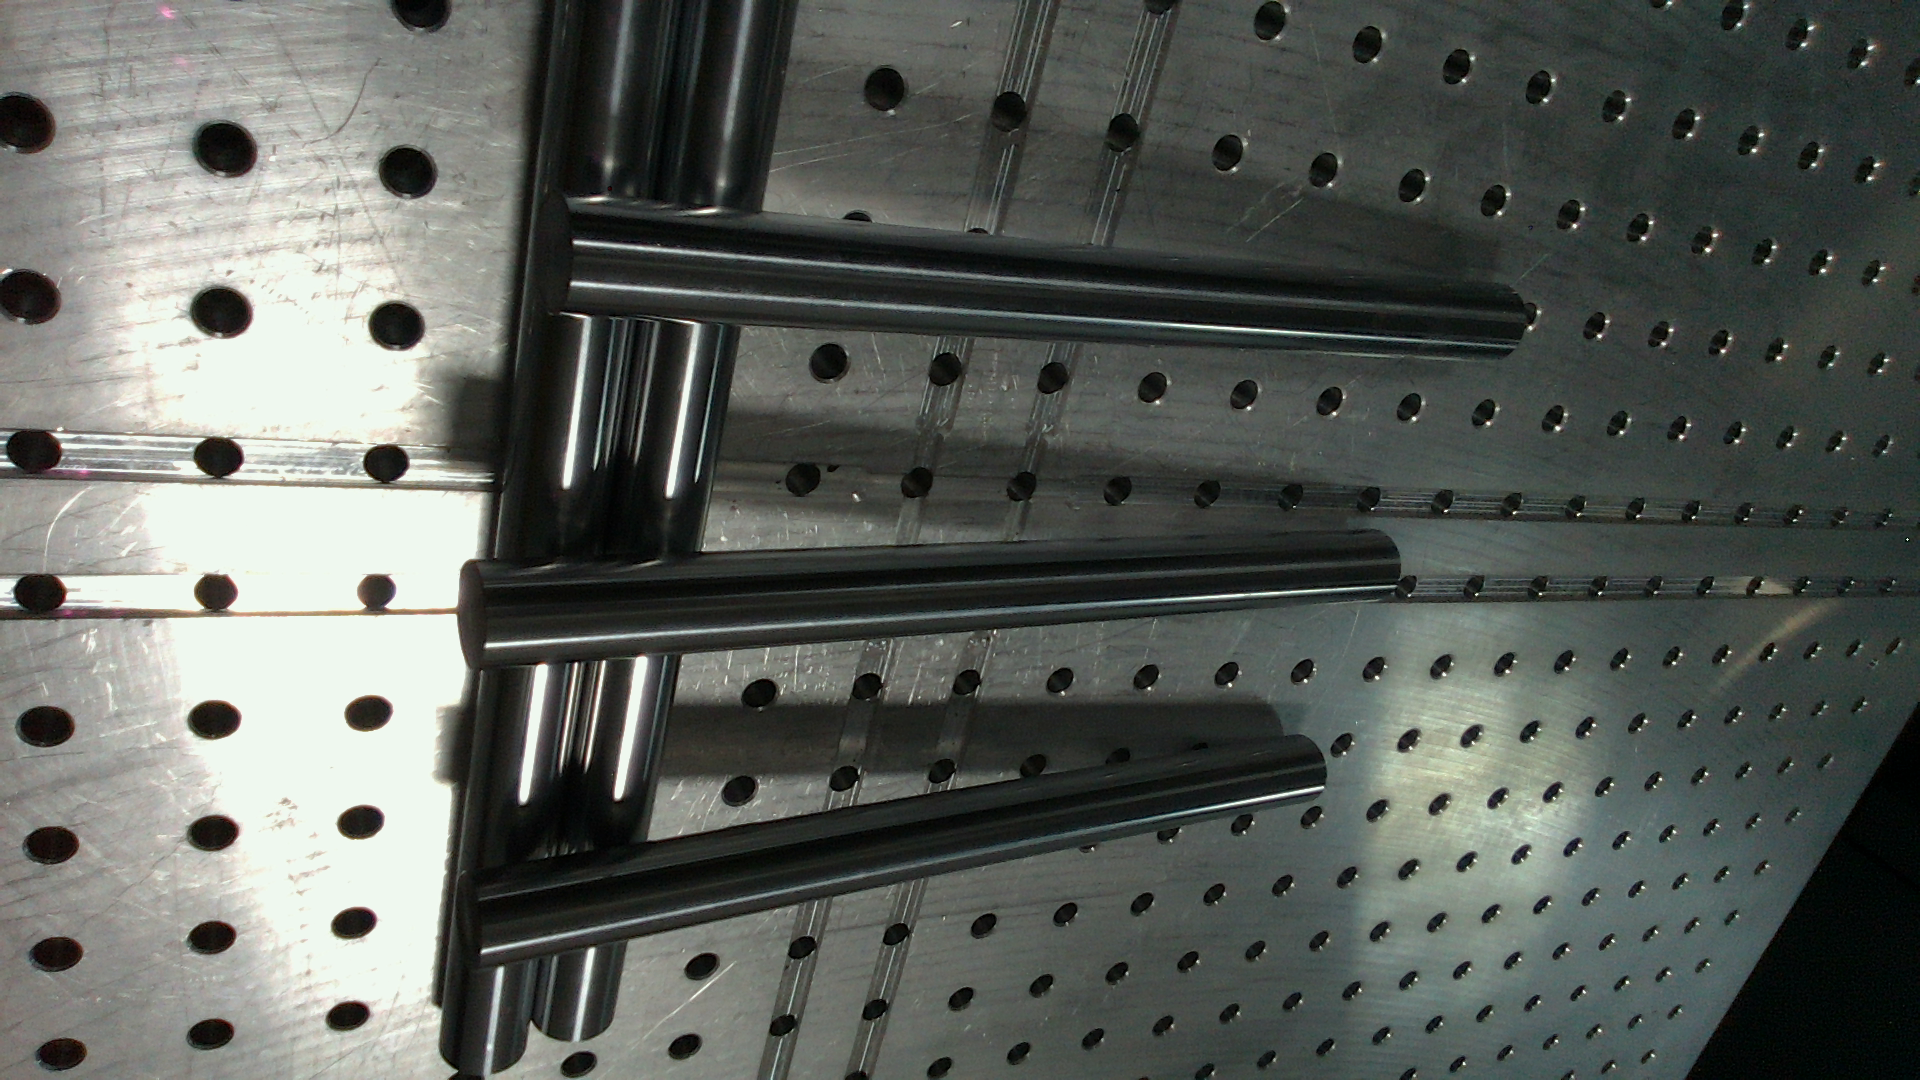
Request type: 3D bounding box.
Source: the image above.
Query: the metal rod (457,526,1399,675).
[{"bbox_3d":[0.016,0.012,0.389,0.301,0.025,0.025,-2,120,-34],"label":"metal rod"}]

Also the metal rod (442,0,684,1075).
[{"bbox_3d":[-0.105,0.016,0.345,0.025,0.025,0.300,1,118,-29],"label":"metal rod"}]

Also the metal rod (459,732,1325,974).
[{"bbox_3d":[0.002,0.090,0.430,0.301,0.025,0.025,-3,120,-34],"label":"metal rod"}]

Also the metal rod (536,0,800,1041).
[{"bbox_3d":[-0.081,0.010,0.354,0.025,0.025,0.300,1,118,-29],"label":"metal rod"}]

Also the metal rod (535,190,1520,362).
[{"bbox_3d":[0.044,-0.063,0.358,0.301,0.025,0.025,-3,120,-34],"label":"metal rod"}]
